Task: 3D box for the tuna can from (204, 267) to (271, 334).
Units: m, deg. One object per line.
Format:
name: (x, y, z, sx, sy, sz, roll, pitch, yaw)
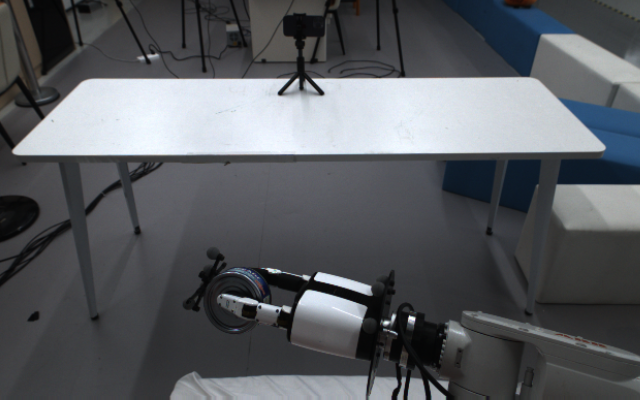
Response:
tuna can: (-0.108, 0.137, 0.643, 0.085, 0.085, 0.034, 9, 6, 9)
